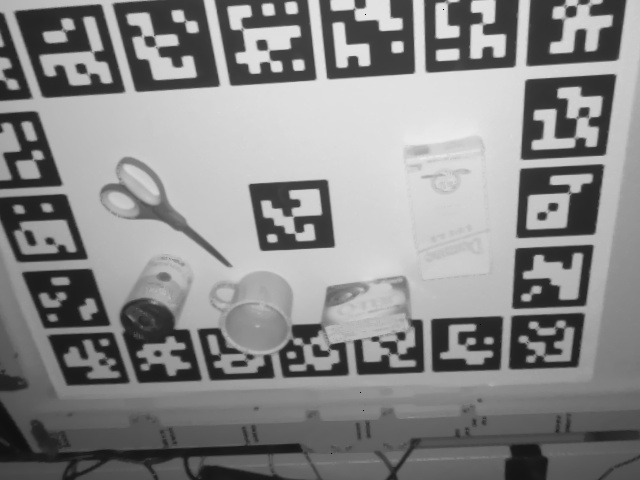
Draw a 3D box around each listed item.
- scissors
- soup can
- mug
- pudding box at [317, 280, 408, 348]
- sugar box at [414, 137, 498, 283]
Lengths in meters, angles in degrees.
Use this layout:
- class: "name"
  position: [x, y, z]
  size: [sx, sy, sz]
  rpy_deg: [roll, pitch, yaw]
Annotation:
- class: "scissors"
  position: [-0.191, -0.033, 0.888]
  size: [0.203, 0.016, 0.087]
  rpy_deg: [42, 102, -16]
- class: "soup can"
  position: [-0.209, 0.068, 0.903]
  size: [0.068, 0.103, 0.067]
  rpy_deg: [1, 119, 3]
- class: "mug"
  position: [-0.090, 0.098, 0.915]
  size: [0.092, 0.082, 0.117]
  rpy_deg: [-37, 111, 17]
- class: "pudding box"
  position: [0.058, 0.095, 0.897]
  size: [0.113, 0.091, 0.038]
  rpy_deg: [-10, 110, 9]
- class: "sugar box"
  position: [0.170, -0.034, 0.858]
  size: [0.093, 0.045, 0.175]
  rpy_deg: [-6, 115, 4]
